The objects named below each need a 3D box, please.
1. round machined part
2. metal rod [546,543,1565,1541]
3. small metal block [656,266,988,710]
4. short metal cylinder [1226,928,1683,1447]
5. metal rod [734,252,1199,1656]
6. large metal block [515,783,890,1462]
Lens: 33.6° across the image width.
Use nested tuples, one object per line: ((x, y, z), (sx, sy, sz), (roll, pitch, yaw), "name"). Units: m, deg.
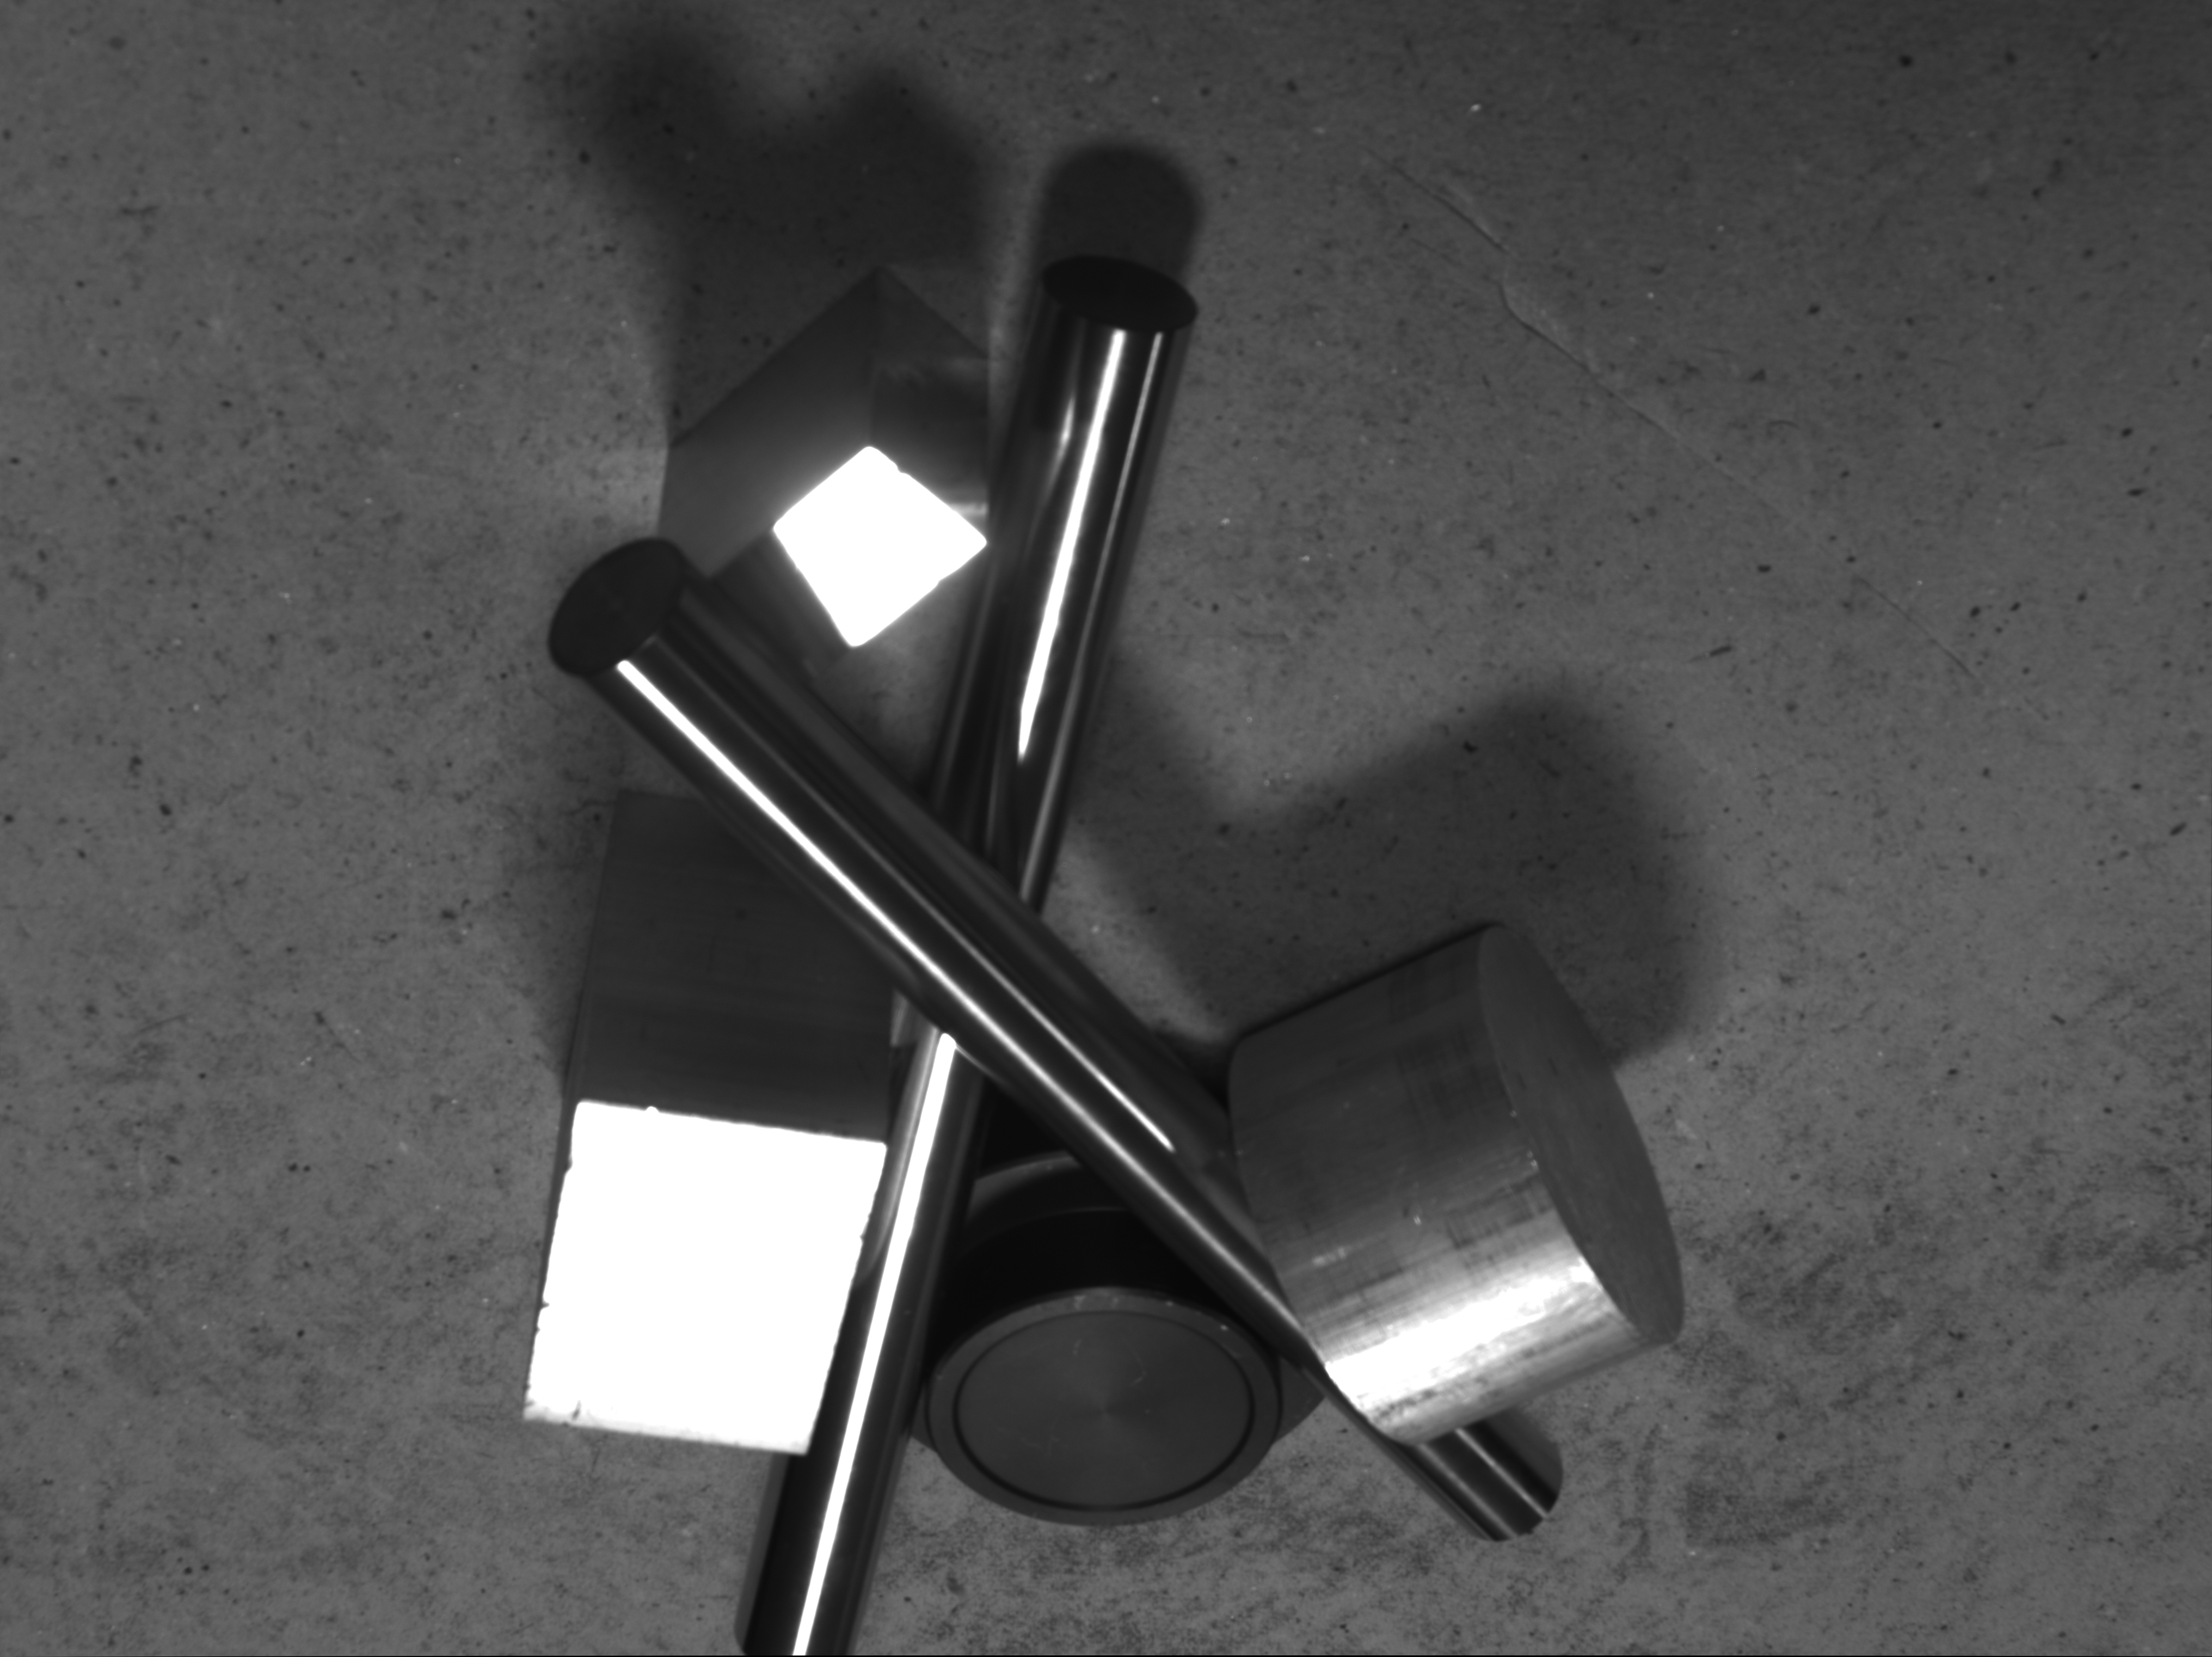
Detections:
((-0.001, 0.098, 0.710), (0.098, 0.042, 0.098), (-1, 130, -1), "round machined part")
((0.005, 0.050, 0.636), (0.025, 0.025, 0.301), (-26, 135, 18), "metal rod")
((-0.045, -0.052, 0.576), (0.050, 0.050, 0.025), (-37, 122, 26), "small metal block")
((0.063, 0.065, 0.660), (0.050, 0.080, 0.080), (-25, 126, 18), "short metal cylinder")
((-0.030, 0.039, 0.650), (0.025, 0.025, 0.300), (9, 123, -9), "metal rod")
((-0.070, 0.051, 0.644), (0.050, 0.080, 0.080), (9, 129, -9), "large metal block")
